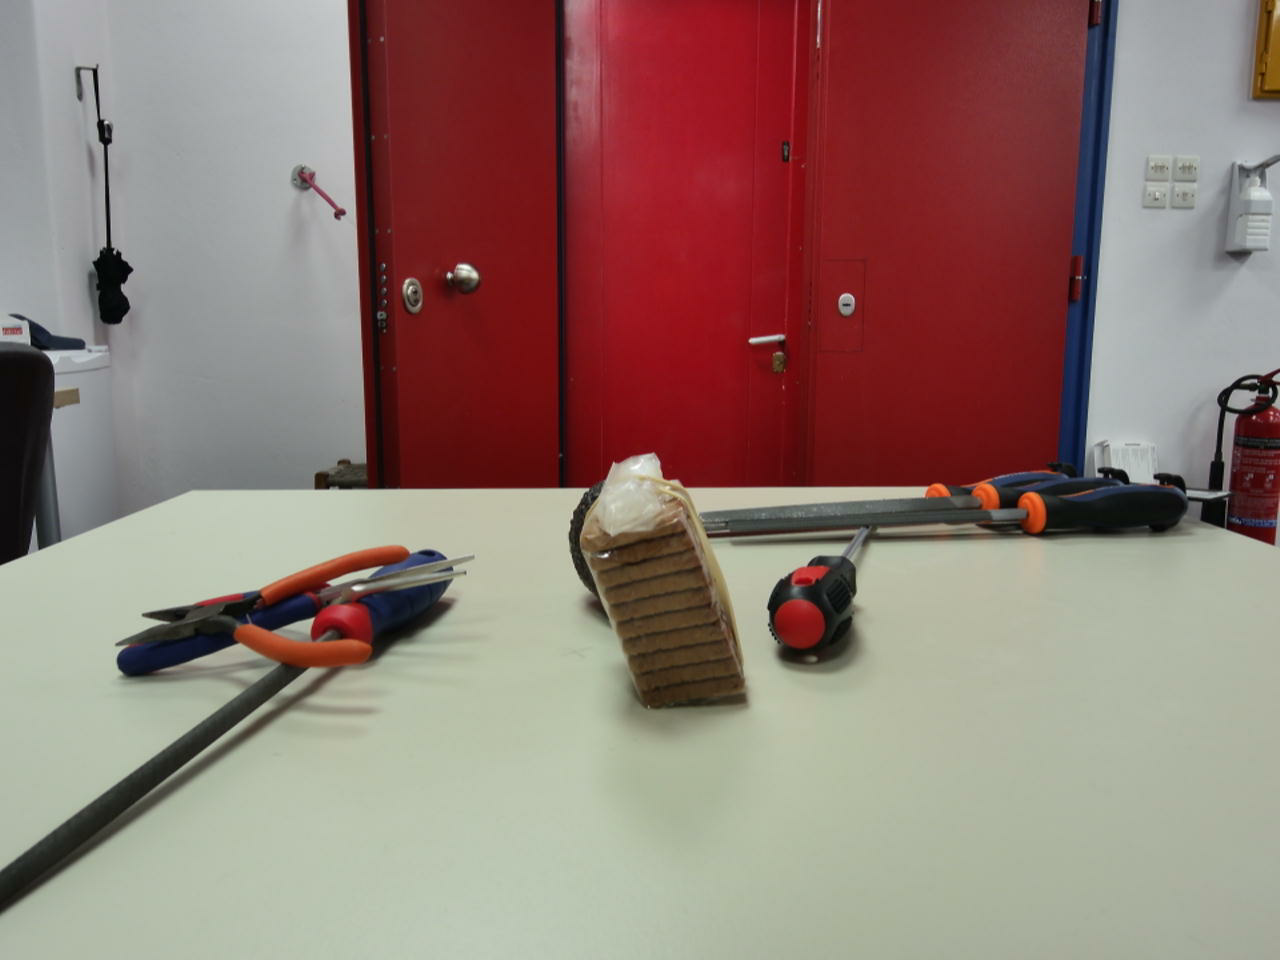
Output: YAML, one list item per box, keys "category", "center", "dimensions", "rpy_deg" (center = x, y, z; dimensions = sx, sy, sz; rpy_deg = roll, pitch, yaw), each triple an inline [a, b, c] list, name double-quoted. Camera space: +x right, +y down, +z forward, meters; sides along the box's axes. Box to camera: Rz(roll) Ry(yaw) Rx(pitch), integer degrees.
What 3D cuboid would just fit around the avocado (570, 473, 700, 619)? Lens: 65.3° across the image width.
- category: "avocado"
  center: [-0.004, 0.031, 0.521]
  dimensions: [0.070, 0.069, 0.090]
  rpy_deg: [4, 7, 24]
